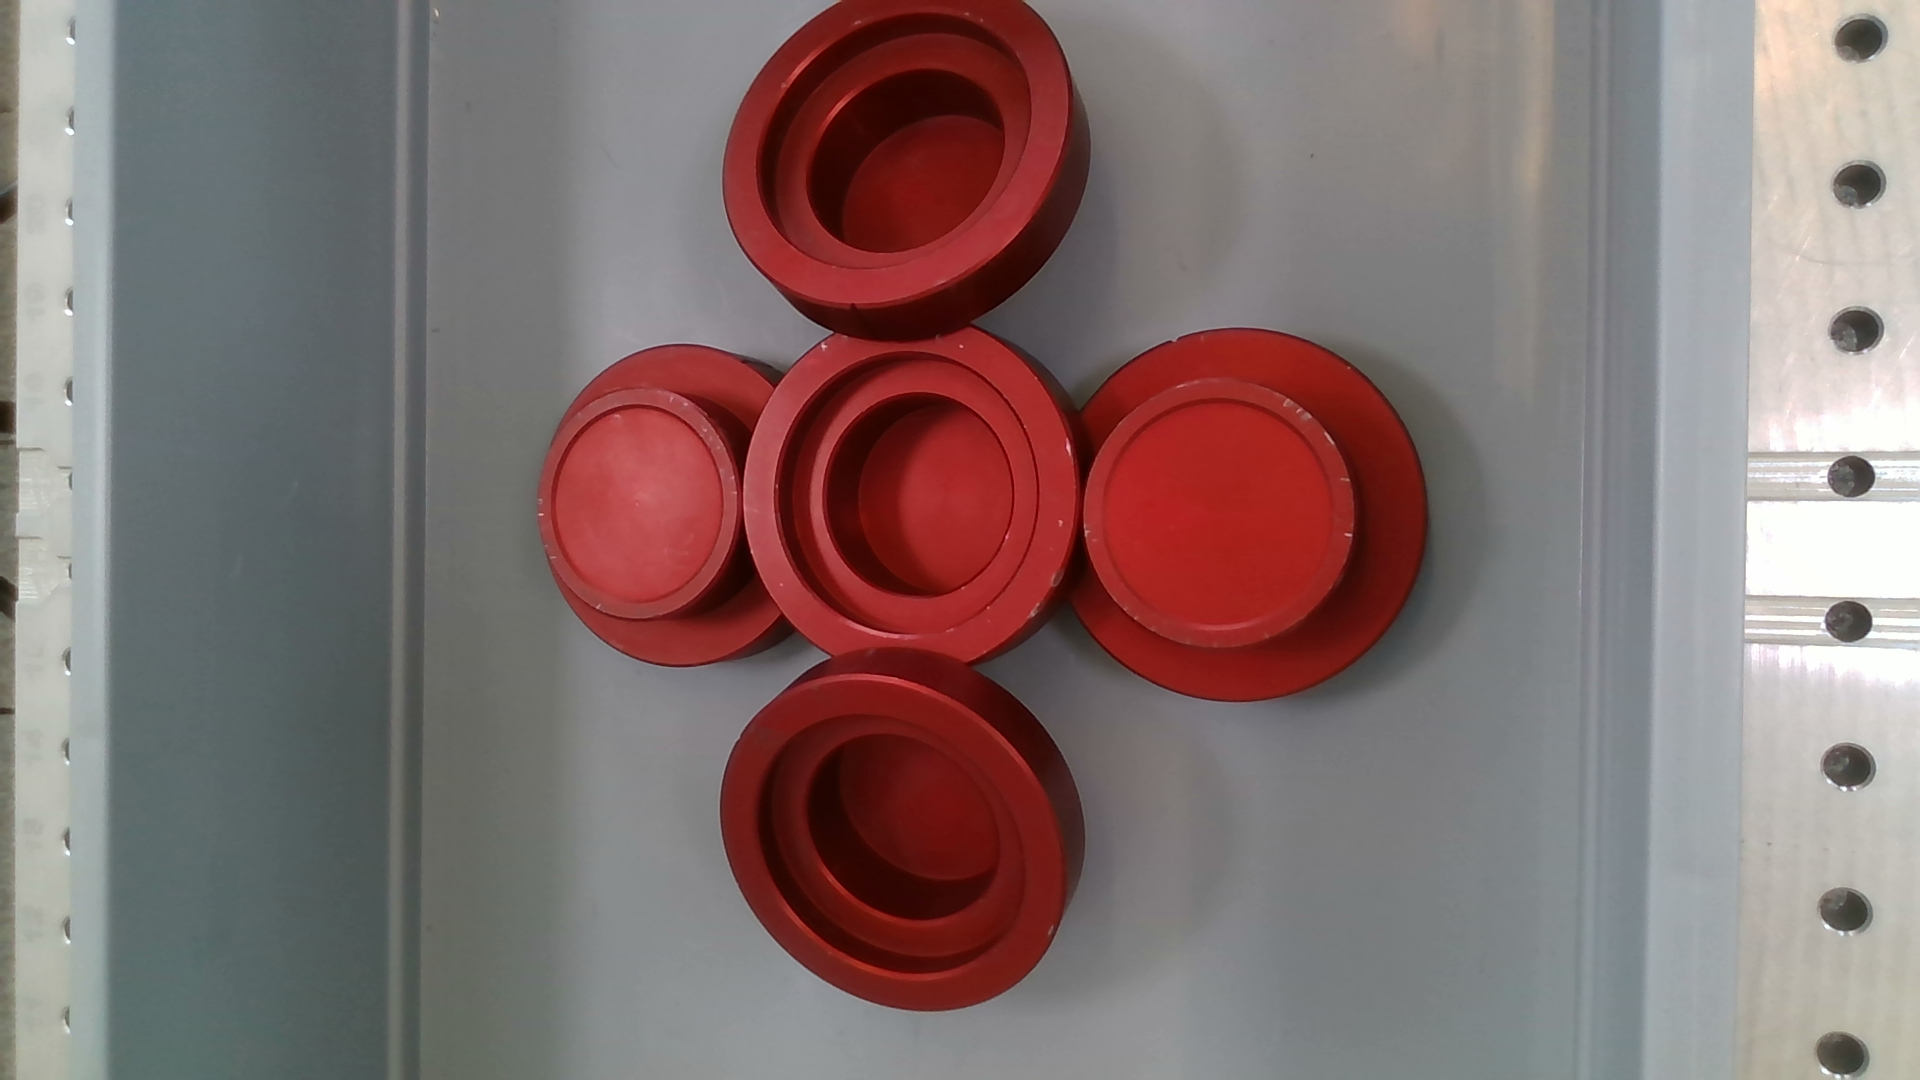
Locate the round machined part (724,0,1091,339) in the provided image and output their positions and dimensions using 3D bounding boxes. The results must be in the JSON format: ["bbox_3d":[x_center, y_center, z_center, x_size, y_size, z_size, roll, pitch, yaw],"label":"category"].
[{"bbox_3d":[-0.011,-0.100,0.378,0.098,0.042,0.098,-6,71,18],"label":"round machined part"}]

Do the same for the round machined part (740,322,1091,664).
[{"bbox_3d":[-0.009,-0.012,0.386,0.098,0.042,0.098,0,90,20],"label":"round machined part"}]

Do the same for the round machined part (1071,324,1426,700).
[{"bbox_3d":[0.070,-0.007,0.358,0.098,0.042,0.098,0,90,20],"label":"round machined part"}]

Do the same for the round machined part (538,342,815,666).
[{"bbox_3d":[-0.086,-0.011,0.415,0.098,0.042,0.098,0,90,20],"label":"round machined part"}]

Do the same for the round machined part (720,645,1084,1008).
[{"bbox_3d":[-0.013,0.075,0.380,0.098,0.042,0.098,6,109,18],"label":"round machined part"}]
